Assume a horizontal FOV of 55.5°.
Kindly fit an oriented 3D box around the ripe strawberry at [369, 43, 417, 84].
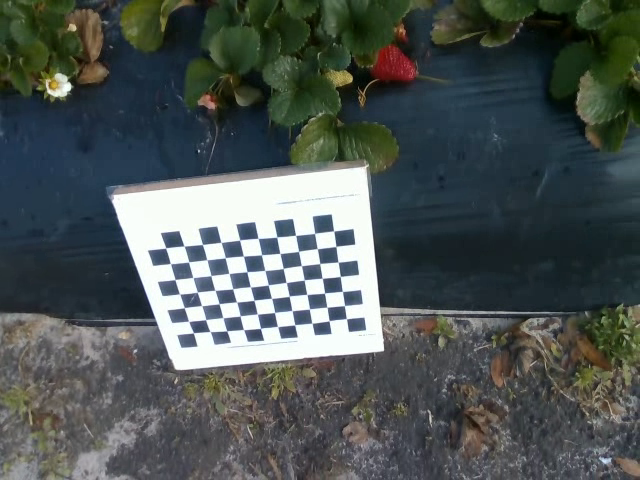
[{"bbox_3d":[0.074,-0.177,0.617,0.064,0.051,0.043,22,29,-12],"label":"ripe strawberry"}]
